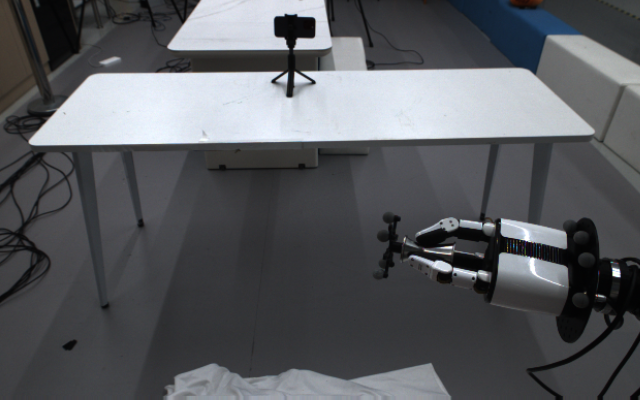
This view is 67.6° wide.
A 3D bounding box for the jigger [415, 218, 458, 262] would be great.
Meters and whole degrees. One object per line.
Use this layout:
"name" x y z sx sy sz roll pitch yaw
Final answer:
"jigger" 0.153 0.069 0.658 0.071 0.043 0.043 9 35 17
